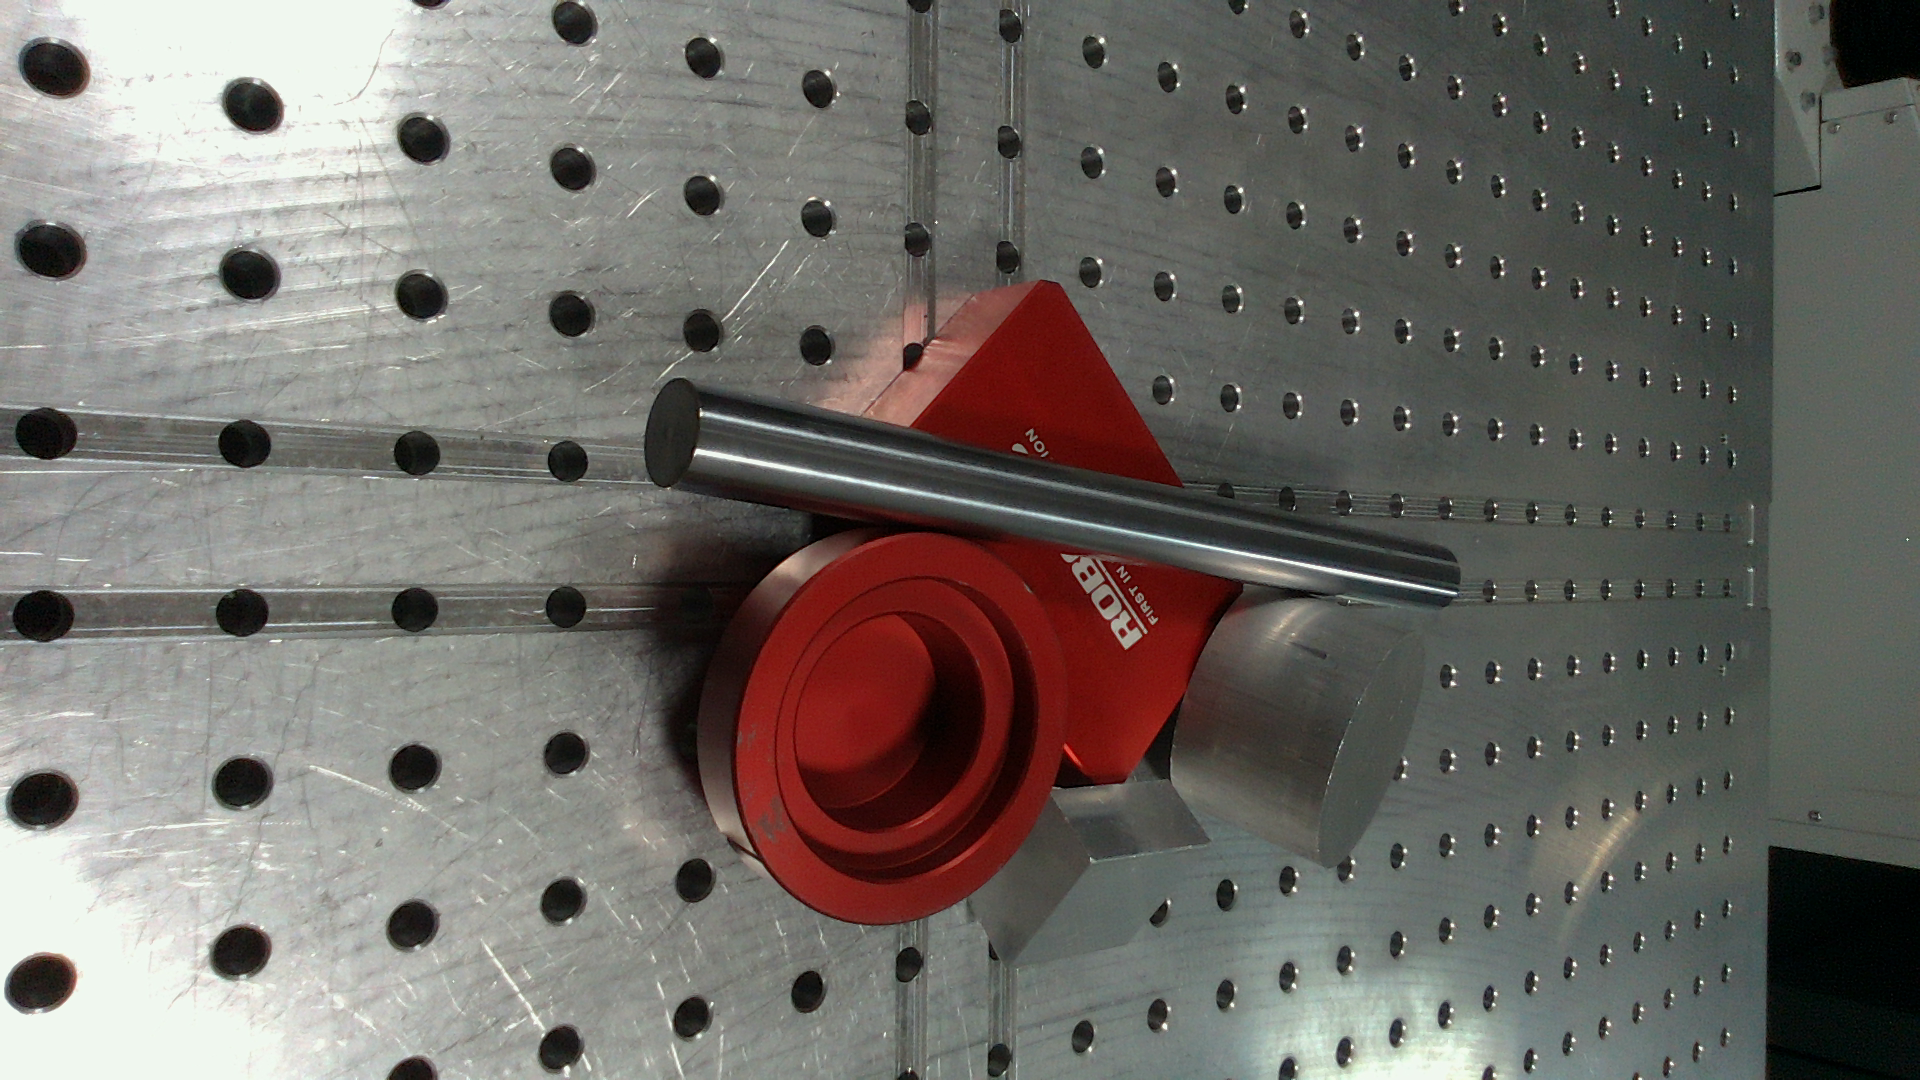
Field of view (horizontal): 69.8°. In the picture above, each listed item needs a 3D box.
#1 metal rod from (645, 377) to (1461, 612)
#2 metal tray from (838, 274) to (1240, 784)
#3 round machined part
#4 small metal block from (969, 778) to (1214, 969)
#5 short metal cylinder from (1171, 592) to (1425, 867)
[{"bbox_3d":[0.052,-0.005,0.395,0.301,0.025,0.025,9,84,-39],"label":"metal rod"},{"bbox_3d":[0.025,-0.001,0.411,0.090,0.030,0.130,-51,120,-28],"label":"metal tray"},{"bbox_3d":[-0.023,0.044,0.355,0.098,0.042,0.098,-5,99,-34],"label":"round machined part"},{"bbox_3d":[0.038,0.098,0.406,0.050,0.025,0.050,3,131,-40],"label":"small metal block"},{"bbox_3d":[0.111,0.058,0.448,0.080,0.050,0.080,-35,136,-43],"label":"short metal cylinder"}]
